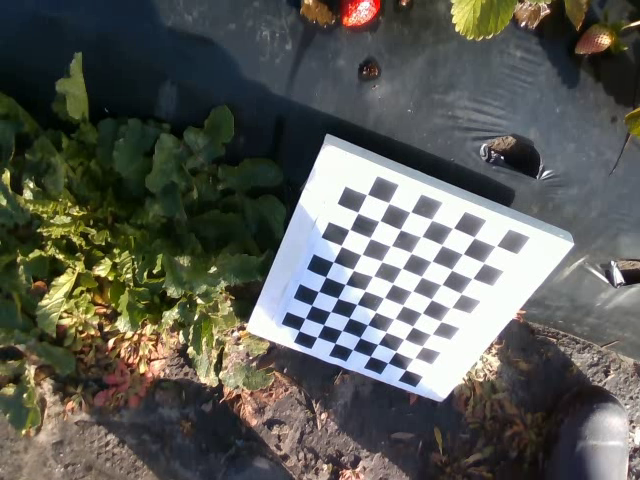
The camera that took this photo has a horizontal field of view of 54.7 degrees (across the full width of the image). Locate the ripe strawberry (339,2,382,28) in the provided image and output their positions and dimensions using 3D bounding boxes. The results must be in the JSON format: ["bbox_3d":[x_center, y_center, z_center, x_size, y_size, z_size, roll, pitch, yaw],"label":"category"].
[{"bbox_3d":[0.027,-0.184,0.492,0.046,0.054,0.037,39,-15,-18],"label":"ripe strawberry"}]
